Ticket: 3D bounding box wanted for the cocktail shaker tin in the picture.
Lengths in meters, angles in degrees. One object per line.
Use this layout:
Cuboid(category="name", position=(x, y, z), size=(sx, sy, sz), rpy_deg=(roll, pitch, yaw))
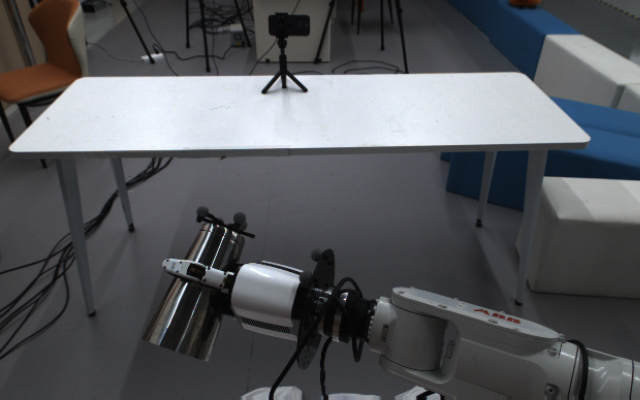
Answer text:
Cuboid(category="cocktail shaker tin", position=(-0.166, 0.122, 0.664), size=(0.093, 0.093, 0.170), rpy_deg=(14, 69, 16))
